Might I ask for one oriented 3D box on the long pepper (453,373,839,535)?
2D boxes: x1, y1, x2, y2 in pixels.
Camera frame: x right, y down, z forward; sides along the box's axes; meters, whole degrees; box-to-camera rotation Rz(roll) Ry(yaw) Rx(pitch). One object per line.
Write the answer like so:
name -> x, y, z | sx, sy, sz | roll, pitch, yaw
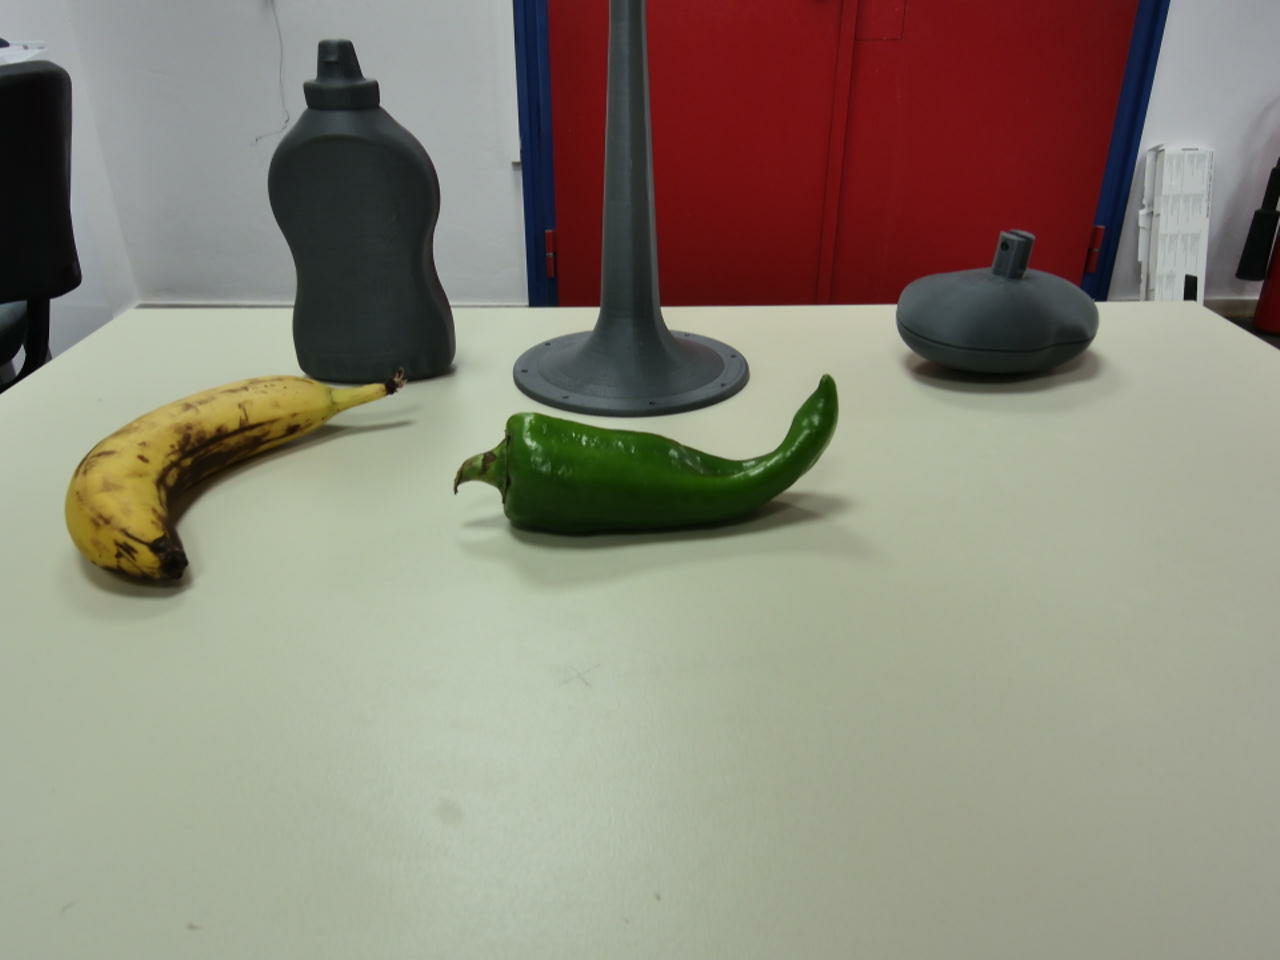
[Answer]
long pepper -> 0.003, -0.012, 0.450 | 0.175, 0.065, 0.058 | -1, 24, -2
